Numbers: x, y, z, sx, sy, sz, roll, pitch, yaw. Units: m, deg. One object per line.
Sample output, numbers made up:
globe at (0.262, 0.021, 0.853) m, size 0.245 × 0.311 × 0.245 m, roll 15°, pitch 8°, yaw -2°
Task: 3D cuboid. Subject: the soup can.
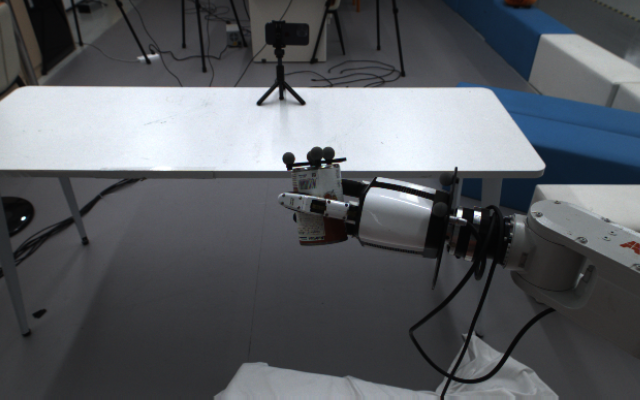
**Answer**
soup can at (0.001, 0.006, 0.649) m, size 0.067 × 0.101 × 0.067 m, roll -7°, pitch 3°, yaw 0°
